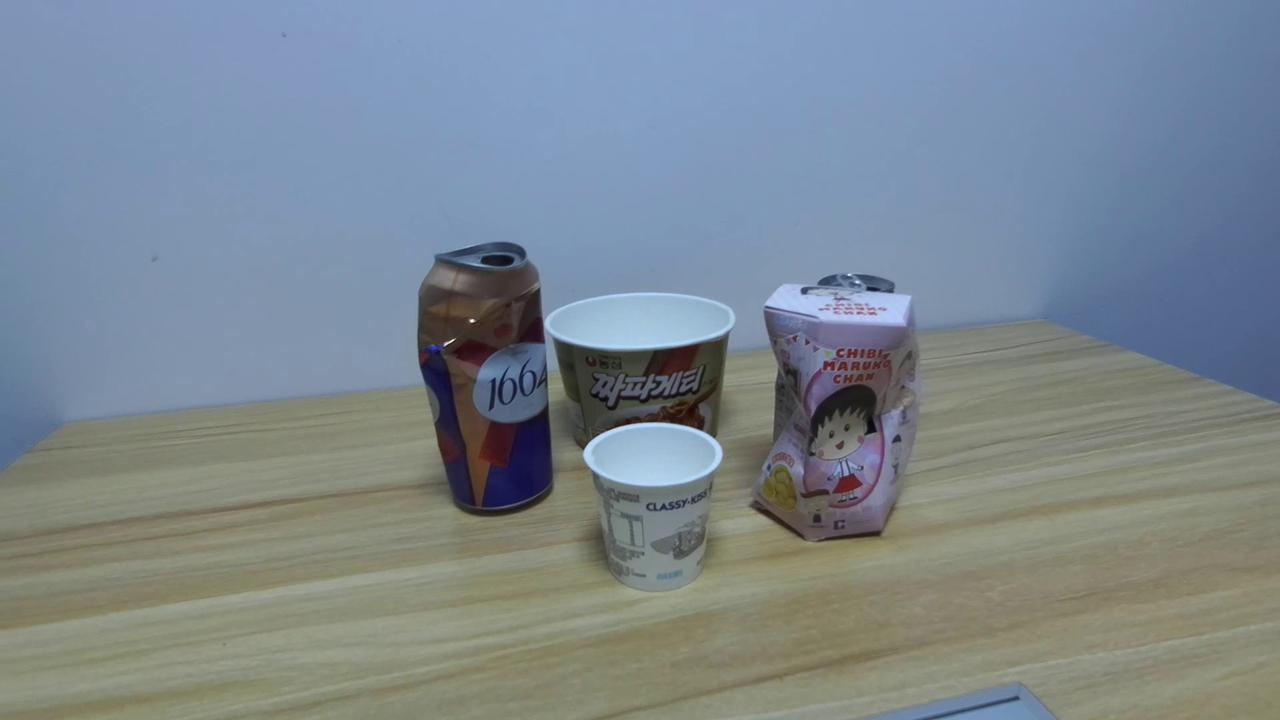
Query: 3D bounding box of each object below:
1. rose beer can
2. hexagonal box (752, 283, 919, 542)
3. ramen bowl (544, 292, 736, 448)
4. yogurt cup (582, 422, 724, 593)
[{"bbox_3d":[-0.093,0.012,0.443,0.068,0.162,0.073,-2,21,-1],"label":"rose beer can"},{"bbox_3d":[0.109,0.030,0.416,0.089,0.134,0.093,-17,24,-37],"label":"hexagonal box"},{"bbox_3d":[0.002,0.011,0.533,0.140,0.095,0.140,-1,19,1],"label":"ramen bowl"},{"bbox_3d":[0.008,0.079,0.378,0.072,0.068,0.072,-1,20,1],"label":"yogurt cup"}]
